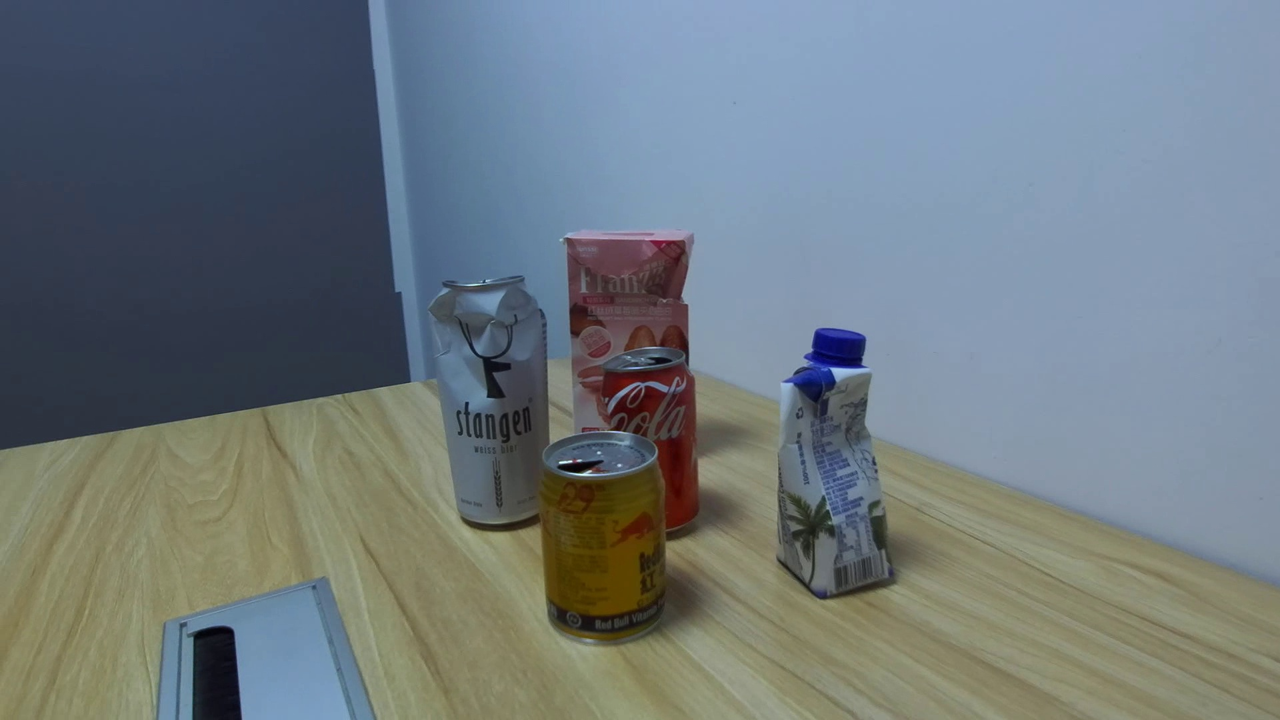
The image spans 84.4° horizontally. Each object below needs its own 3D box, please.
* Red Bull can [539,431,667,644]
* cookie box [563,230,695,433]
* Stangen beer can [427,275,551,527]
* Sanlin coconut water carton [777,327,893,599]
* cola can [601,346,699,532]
[{"bbox_3d":[-0.019,0.091,0.374,0.067,0.093,0.067,-1,16,1],"label":"Red Bull can"},{"bbox_3d":[-0.007,-0.010,0.578,0.105,0.186,0.059,1,16,8],"label":"cookie box"},{"bbox_3d":[-0.099,0.028,0.485,0.065,0.166,0.066,6,16,31],"label":"Stangen beer can"},{"bbox_3d":[0.101,0.056,0.404,0.069,0.144,0.056,-14,11,-18],"label":"Sanlin coconut water carton"},{"bbox_3d":[0.007,0.053,0.470,0.065,0.117,0.072,5,16,19],"label":"cola can"}]
